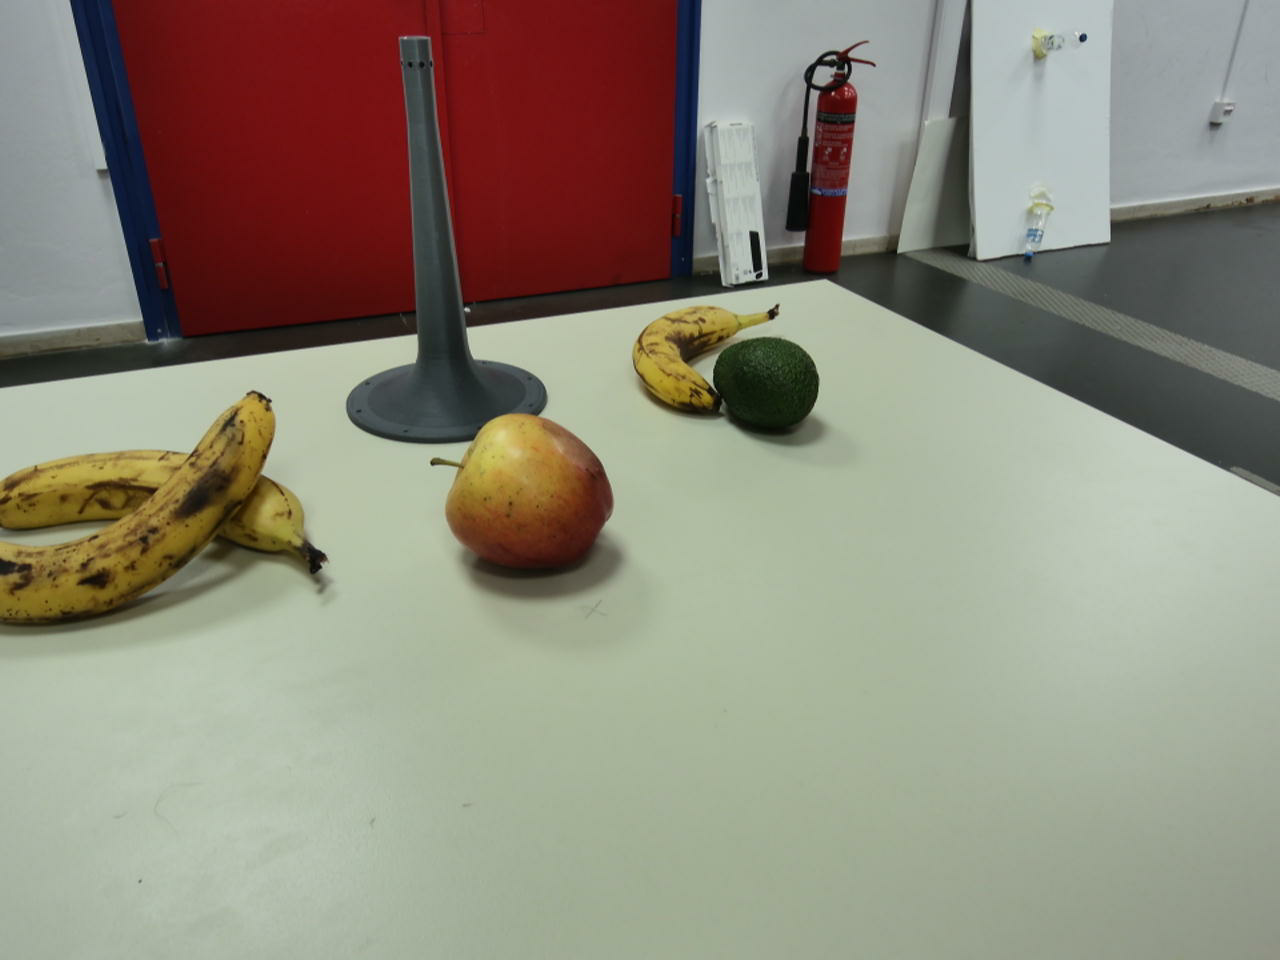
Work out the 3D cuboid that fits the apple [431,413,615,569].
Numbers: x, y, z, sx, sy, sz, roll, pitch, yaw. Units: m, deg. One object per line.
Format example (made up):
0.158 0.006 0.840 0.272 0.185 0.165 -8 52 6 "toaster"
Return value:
-0.063 0.007 0.550 0.093 0.084 0.086 15 29 26 "apple"
